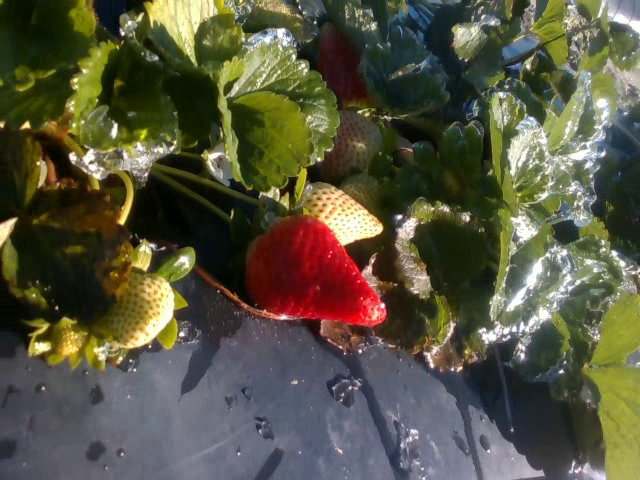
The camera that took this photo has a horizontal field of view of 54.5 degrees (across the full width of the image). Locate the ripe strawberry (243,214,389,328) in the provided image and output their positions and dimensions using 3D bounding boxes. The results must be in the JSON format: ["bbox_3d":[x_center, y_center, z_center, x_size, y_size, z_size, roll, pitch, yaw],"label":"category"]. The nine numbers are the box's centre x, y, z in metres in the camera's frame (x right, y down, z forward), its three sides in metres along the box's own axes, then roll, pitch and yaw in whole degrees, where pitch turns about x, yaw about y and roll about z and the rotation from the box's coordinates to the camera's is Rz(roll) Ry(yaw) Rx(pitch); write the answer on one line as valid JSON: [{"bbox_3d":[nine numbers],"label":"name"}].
[{"bbox_3d":[0.000,0.014,0.199,0.053,0.042,0.040,31,48,30],"label":"ripe strawberry"}]
